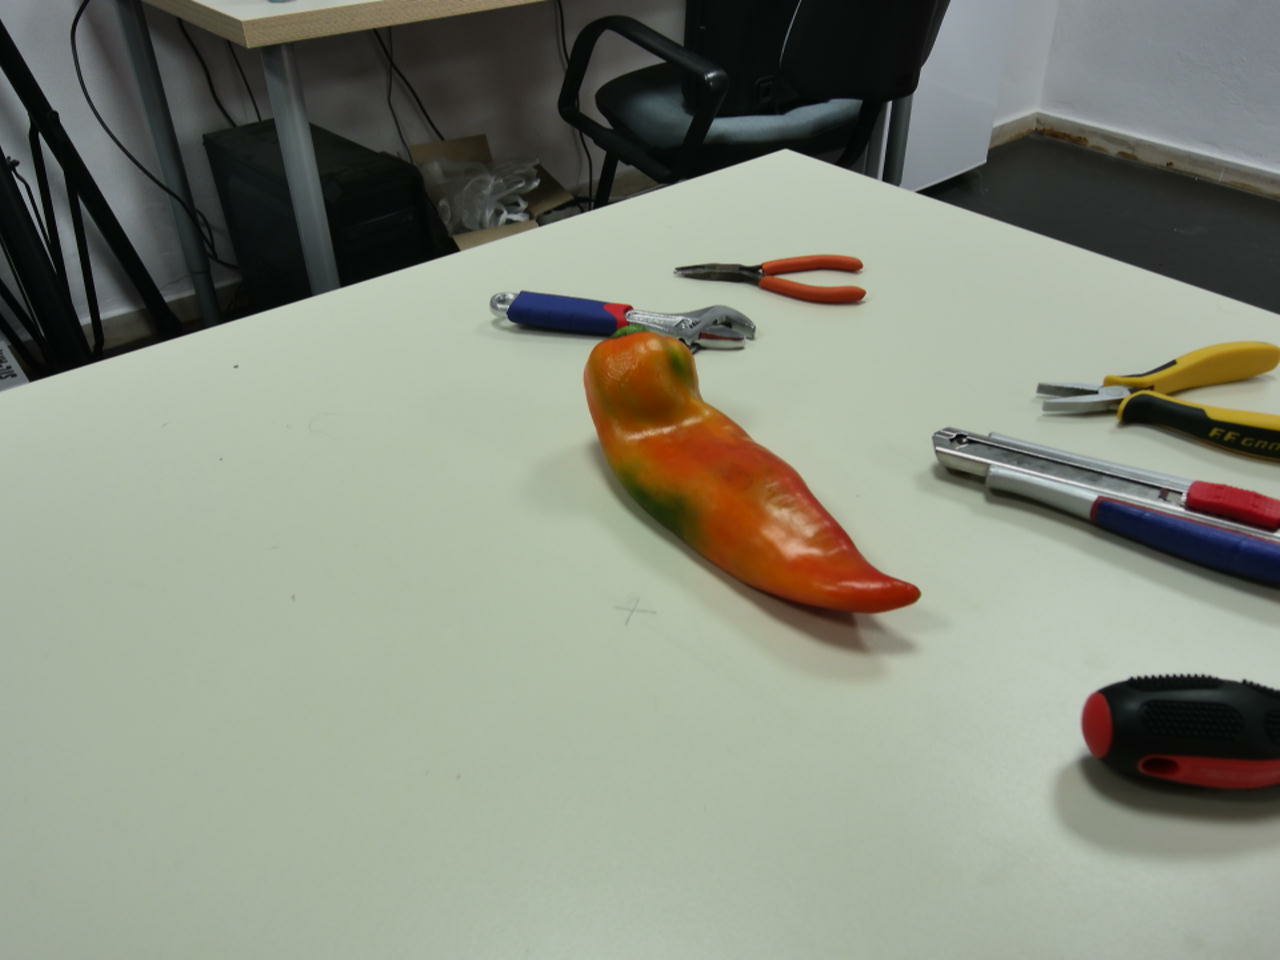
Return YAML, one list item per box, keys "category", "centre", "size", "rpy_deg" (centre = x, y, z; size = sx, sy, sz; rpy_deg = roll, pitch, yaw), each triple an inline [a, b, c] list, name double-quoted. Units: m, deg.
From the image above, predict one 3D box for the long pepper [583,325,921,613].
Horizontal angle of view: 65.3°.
- category: "long pepper"
  centre: [0.040, -0.007, 0.430]
  size: [0.066, 0.065, 0.199]
  rpy_deg: [-20, 39, -25]
